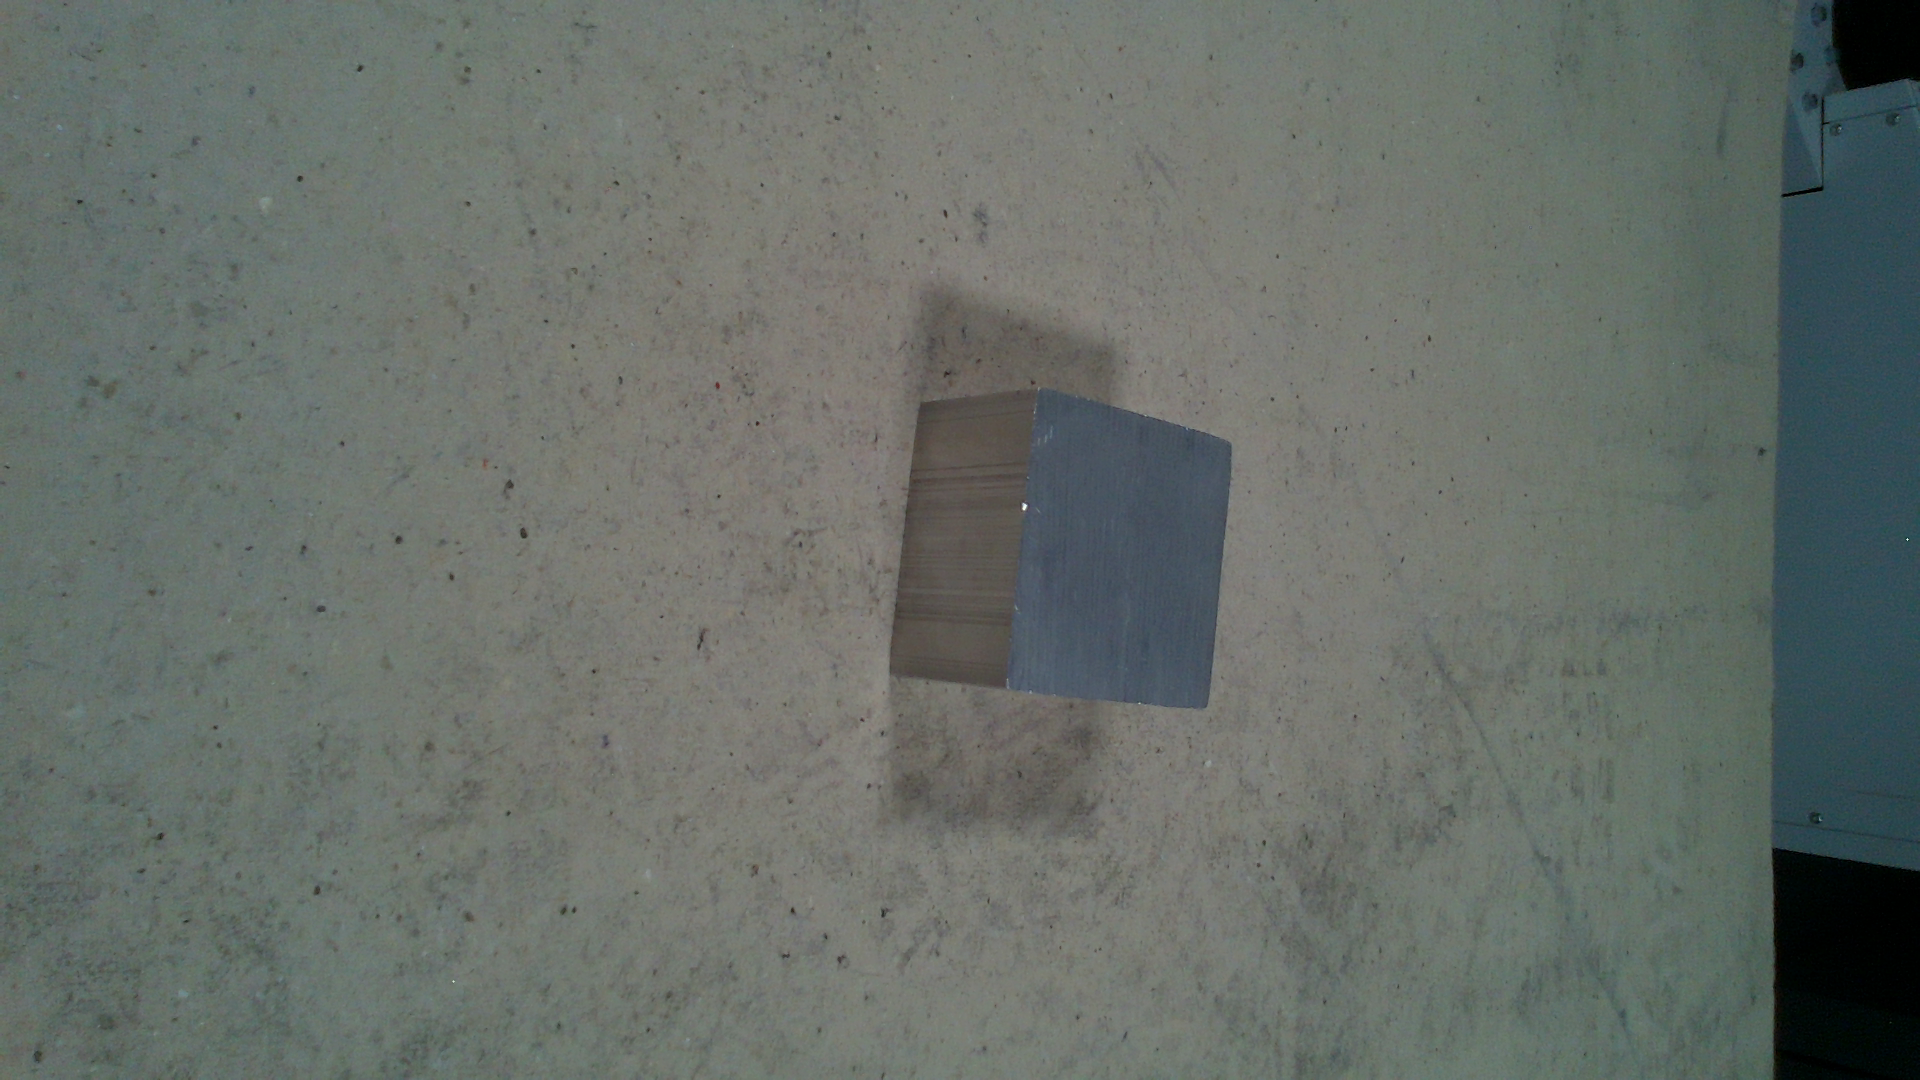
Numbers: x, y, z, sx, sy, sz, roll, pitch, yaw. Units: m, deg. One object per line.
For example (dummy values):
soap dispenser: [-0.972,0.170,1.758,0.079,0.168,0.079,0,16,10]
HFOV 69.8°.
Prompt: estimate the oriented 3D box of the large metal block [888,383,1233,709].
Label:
large metal block: [0.030,0.004,0.398,0.080,0.050,0.080,10,84,-39]
